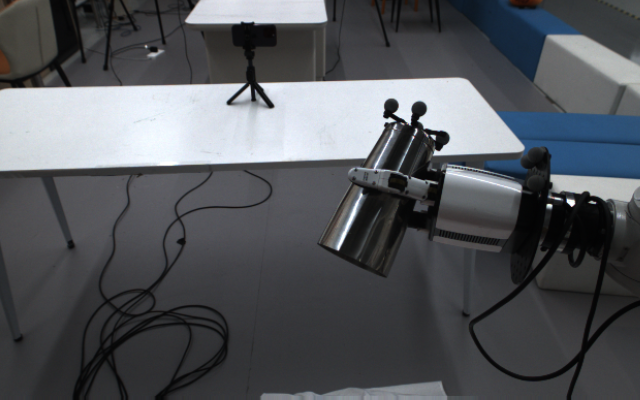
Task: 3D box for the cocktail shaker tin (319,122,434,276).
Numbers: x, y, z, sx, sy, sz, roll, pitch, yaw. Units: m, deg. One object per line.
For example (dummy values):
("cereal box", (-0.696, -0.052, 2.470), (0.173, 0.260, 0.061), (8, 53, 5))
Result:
("cocktail shaker tin", (0.077, -0.006, 0.581), (0.093, 0.093, 0.170), (21, 81, 25))
